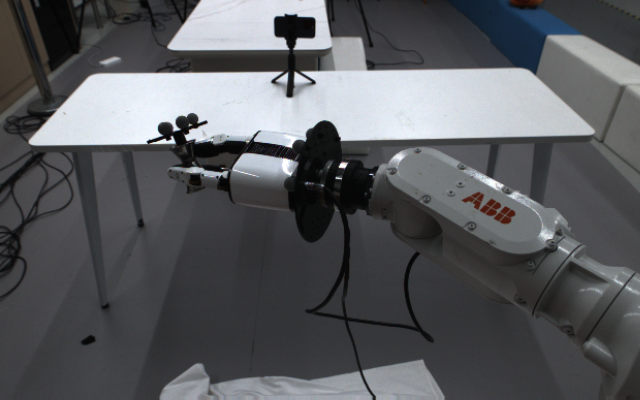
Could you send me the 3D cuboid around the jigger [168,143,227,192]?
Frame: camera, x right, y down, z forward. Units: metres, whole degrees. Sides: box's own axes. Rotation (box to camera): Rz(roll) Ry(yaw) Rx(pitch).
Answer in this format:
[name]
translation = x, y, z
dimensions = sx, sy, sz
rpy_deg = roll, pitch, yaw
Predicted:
[jigger]
translation = -0.181, -0.049, 0.694
dimensions = 0.043, 0.071, 0.043
rpy_deg = -19, 15, 5
